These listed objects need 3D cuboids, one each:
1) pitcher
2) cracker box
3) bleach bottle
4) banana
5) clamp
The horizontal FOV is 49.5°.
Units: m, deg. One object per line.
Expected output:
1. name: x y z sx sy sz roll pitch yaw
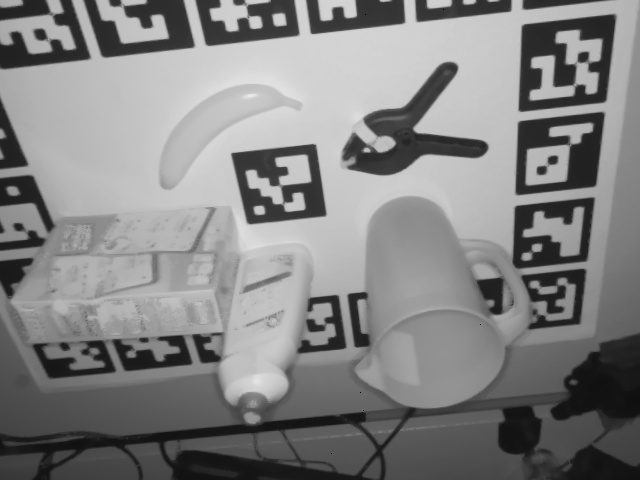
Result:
1. pitcher: 0.146 0.065 0.760 0.187 0.244 0.133 -19 123 15
2. cracker box: -0.199 0.037 0.786 0.214 0.165 0.071 -4 127 -1
3. bleach bottle: -0.038 0.102 0.802 0.103 0.252 0.067 -5 125 2
4. banana: -0.100 -0.119 0.787 0.195 0.039 0.074 -34 119 19
5. clamp: 0.121 -0.113 0.790 0.164 0.037 0.121 -18 124 12
